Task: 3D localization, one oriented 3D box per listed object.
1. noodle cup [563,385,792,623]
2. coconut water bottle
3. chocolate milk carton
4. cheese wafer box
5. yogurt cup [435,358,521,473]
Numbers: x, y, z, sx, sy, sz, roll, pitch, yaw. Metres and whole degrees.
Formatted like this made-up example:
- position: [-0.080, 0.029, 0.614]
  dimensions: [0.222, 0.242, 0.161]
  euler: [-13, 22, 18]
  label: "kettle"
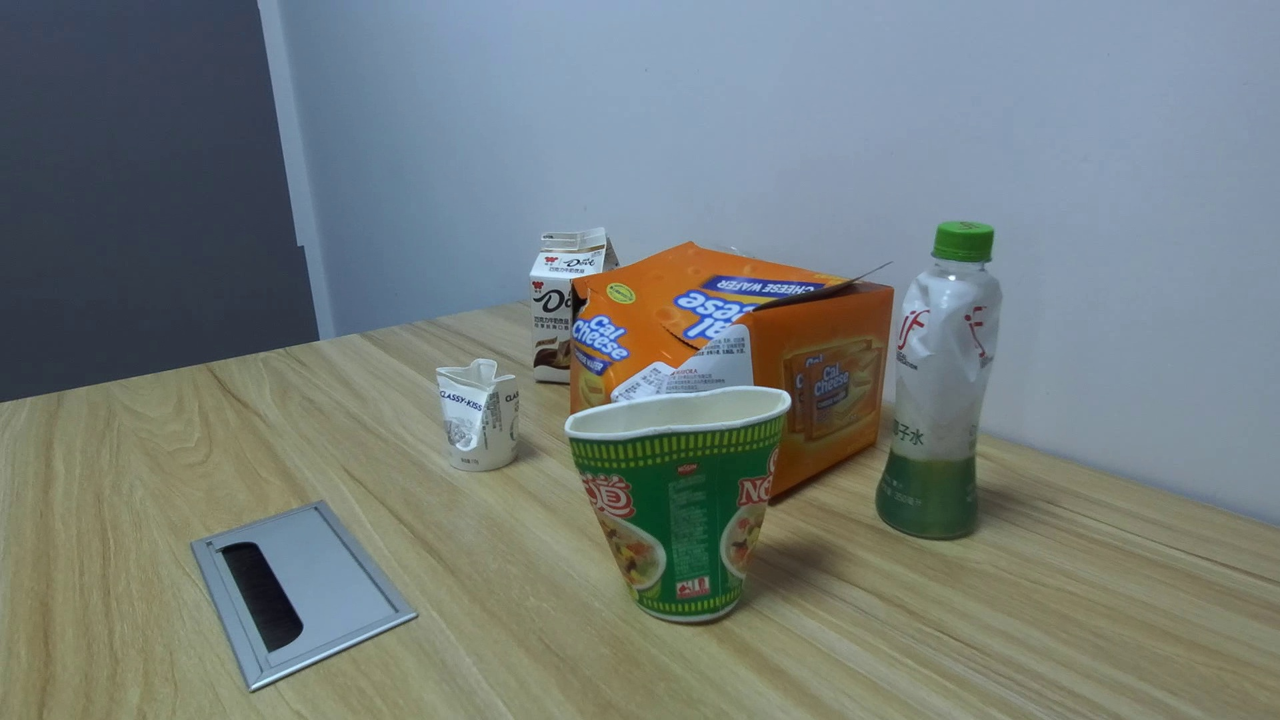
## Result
- position: [0.023, 0.074, 0.378]
  dimensions: [0.115, 0.111, 0.070]
  euler: [1, 20, 5]
  label: "noodle cup"
- position: [0.185, 0.013, 0.431]
  dimensions: [0.067, 0.187, 0.067]
  euler: [0, 19, 0]
  label: "coconut water bottle"
- position: [-0.061, -0.056, 0.702]
  dimensions: [0.075, 0.148, 0.074]
  euler: [5, 18, 16]
  label: "chocolate milk carton"
- position: [0.056, -0.007, 0.560]
  dimensions: [0.192, 0.145, 0.218]
  euler: [-18, 26, -41]
  label: "cheese wafer box"
- position: [-0.121, 0.042, 0.545]
  dimensions: [0.055, 0.072, 0.054]
  euler: [-12, 21, -30]
  label: "yogurt cup"
